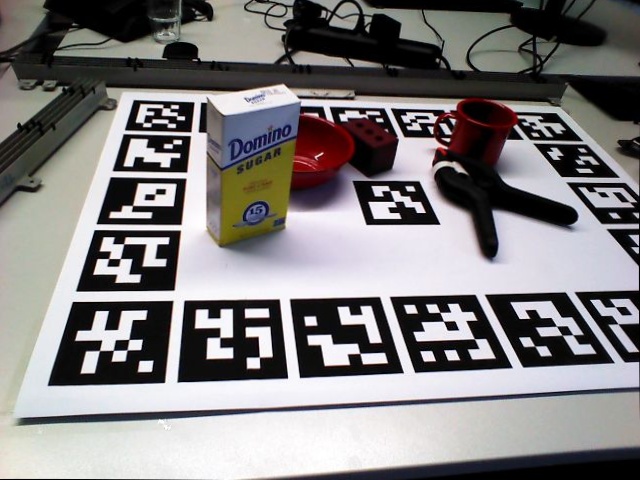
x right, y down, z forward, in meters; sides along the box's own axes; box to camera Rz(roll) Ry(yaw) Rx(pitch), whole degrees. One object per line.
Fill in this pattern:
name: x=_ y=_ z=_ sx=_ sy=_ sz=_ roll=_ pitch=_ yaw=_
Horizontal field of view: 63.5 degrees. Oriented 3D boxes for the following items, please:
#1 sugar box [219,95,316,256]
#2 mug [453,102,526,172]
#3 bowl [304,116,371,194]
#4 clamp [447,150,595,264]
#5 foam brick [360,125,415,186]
sugar box: x=-0.062 y=-0.068 z=0.579 sx=0.092 sy=0.177 sz=0.045 roll=-18 pitch=50 yaw=-28
mug: x=0.265 y=-0.161 z=0.800 sx=0.117 sy=0.082 sz=0.092 roll=19 pitch=43 yaw=7
bowl: x=-0.013 y=-0.113 z=0.727 sx=0.162 sy=0.055 sz=0.161 roll=5 pitch=42 yaw=-5
clamp: x=0.247 y=-0.061 z=0.715 sx=0.165 sy=0.037 sz=0.203 roll=-19 pitch=49 yaw=-24
foam brick: x=0.098 y=-0.126 z=0.771 sx=0.052 sy=0.051 sz=0.078 roll=-22 pitch=51 yaw=-28
